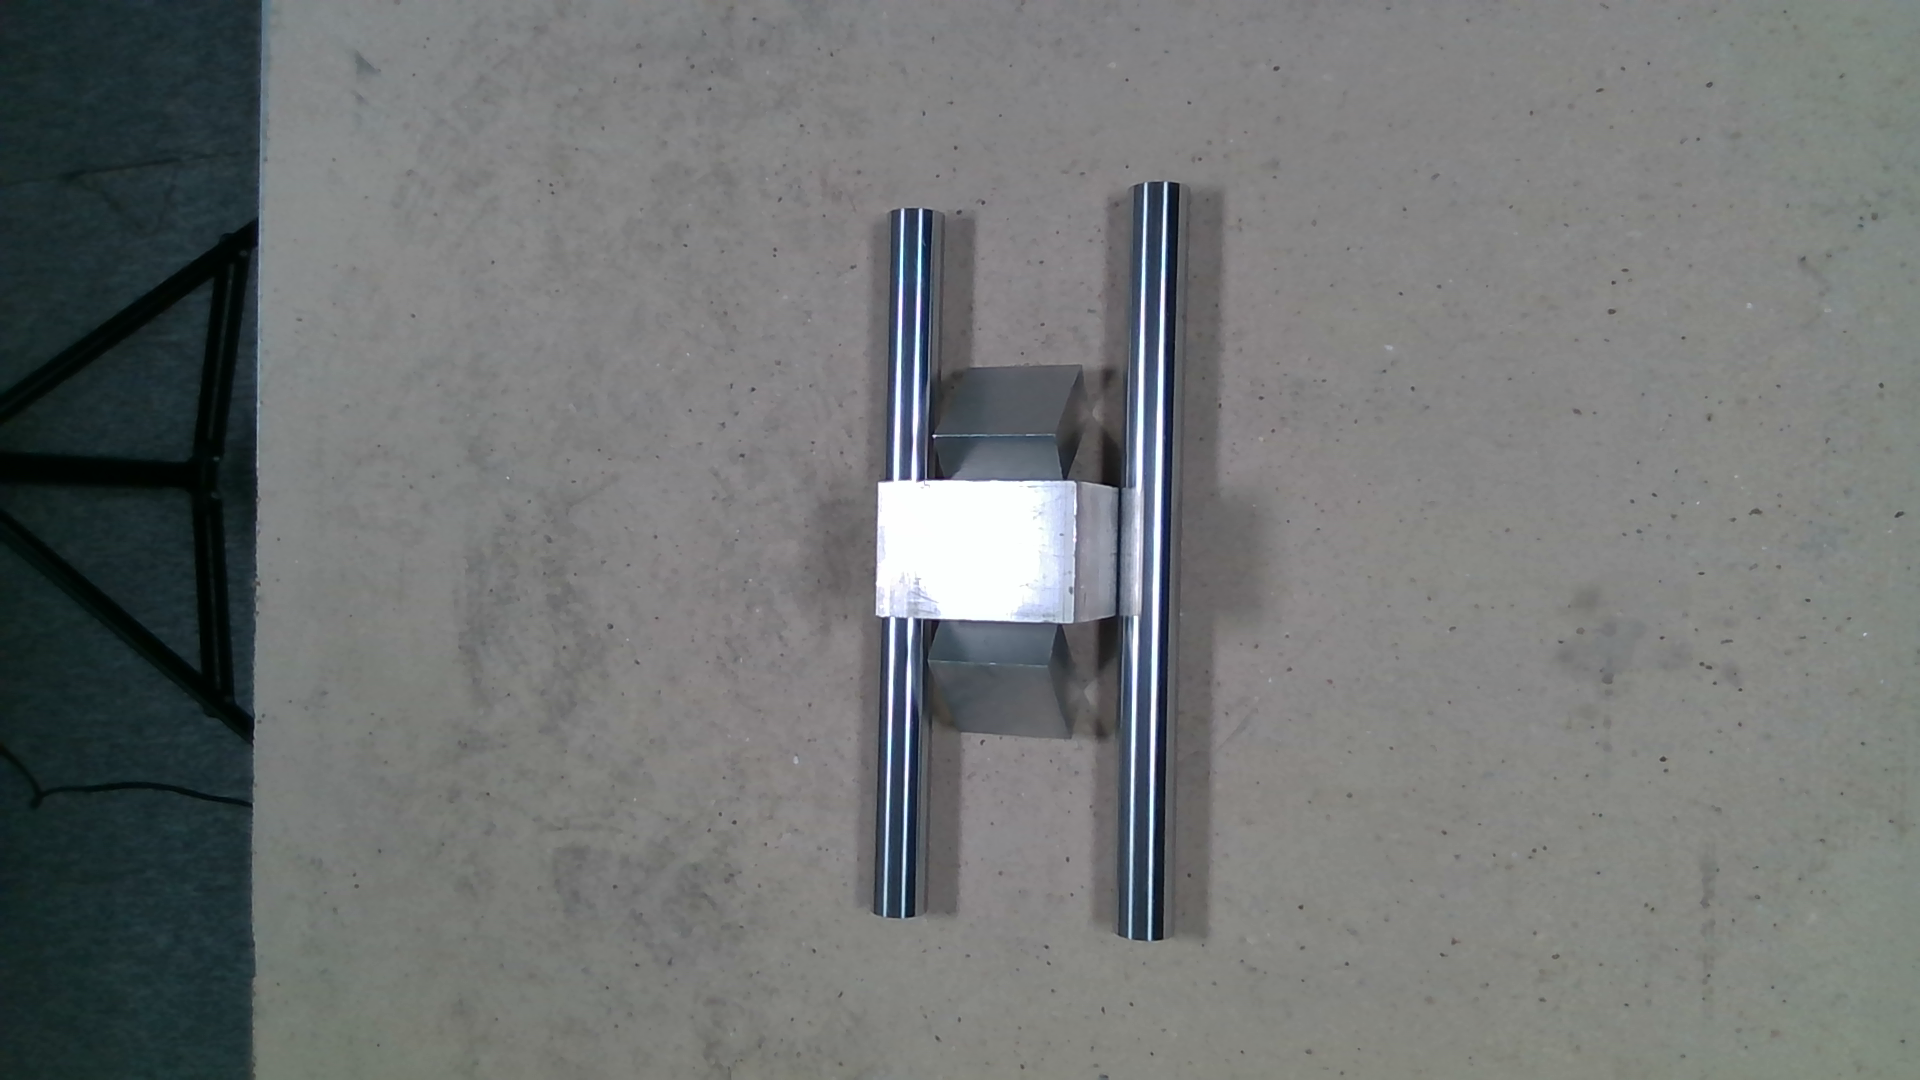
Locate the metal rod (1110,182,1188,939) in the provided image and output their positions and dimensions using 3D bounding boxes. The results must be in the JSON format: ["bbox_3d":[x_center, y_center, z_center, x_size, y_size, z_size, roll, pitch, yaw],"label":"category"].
[{"bbox_3d":[0.077,0.009,0.557,0.025,0.025,0.300,1,91,20],"label":"metal rod"}]

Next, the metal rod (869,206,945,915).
[{"bbox_3d":[-0.023,0.009,0.594,0.025,0.025,0.300,2,91,20],"label":"metal rod"}]

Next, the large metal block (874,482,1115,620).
[{"bbox_3d":[0.019,0.003,0.552,0.080,0.080,0.050,1,91,20],"label":"large metal block"}]

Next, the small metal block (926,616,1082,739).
[{"bbox_3d":[0.019,0.056,0.565,0.050,0.050,0.025,1,49,20],"label":"small metal block"}]

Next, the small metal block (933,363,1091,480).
[{"bbox_3d":[0.022,-0.047,0.562,0.050,0.050,0.025,1,130,21],"label":"small metal block"}]
